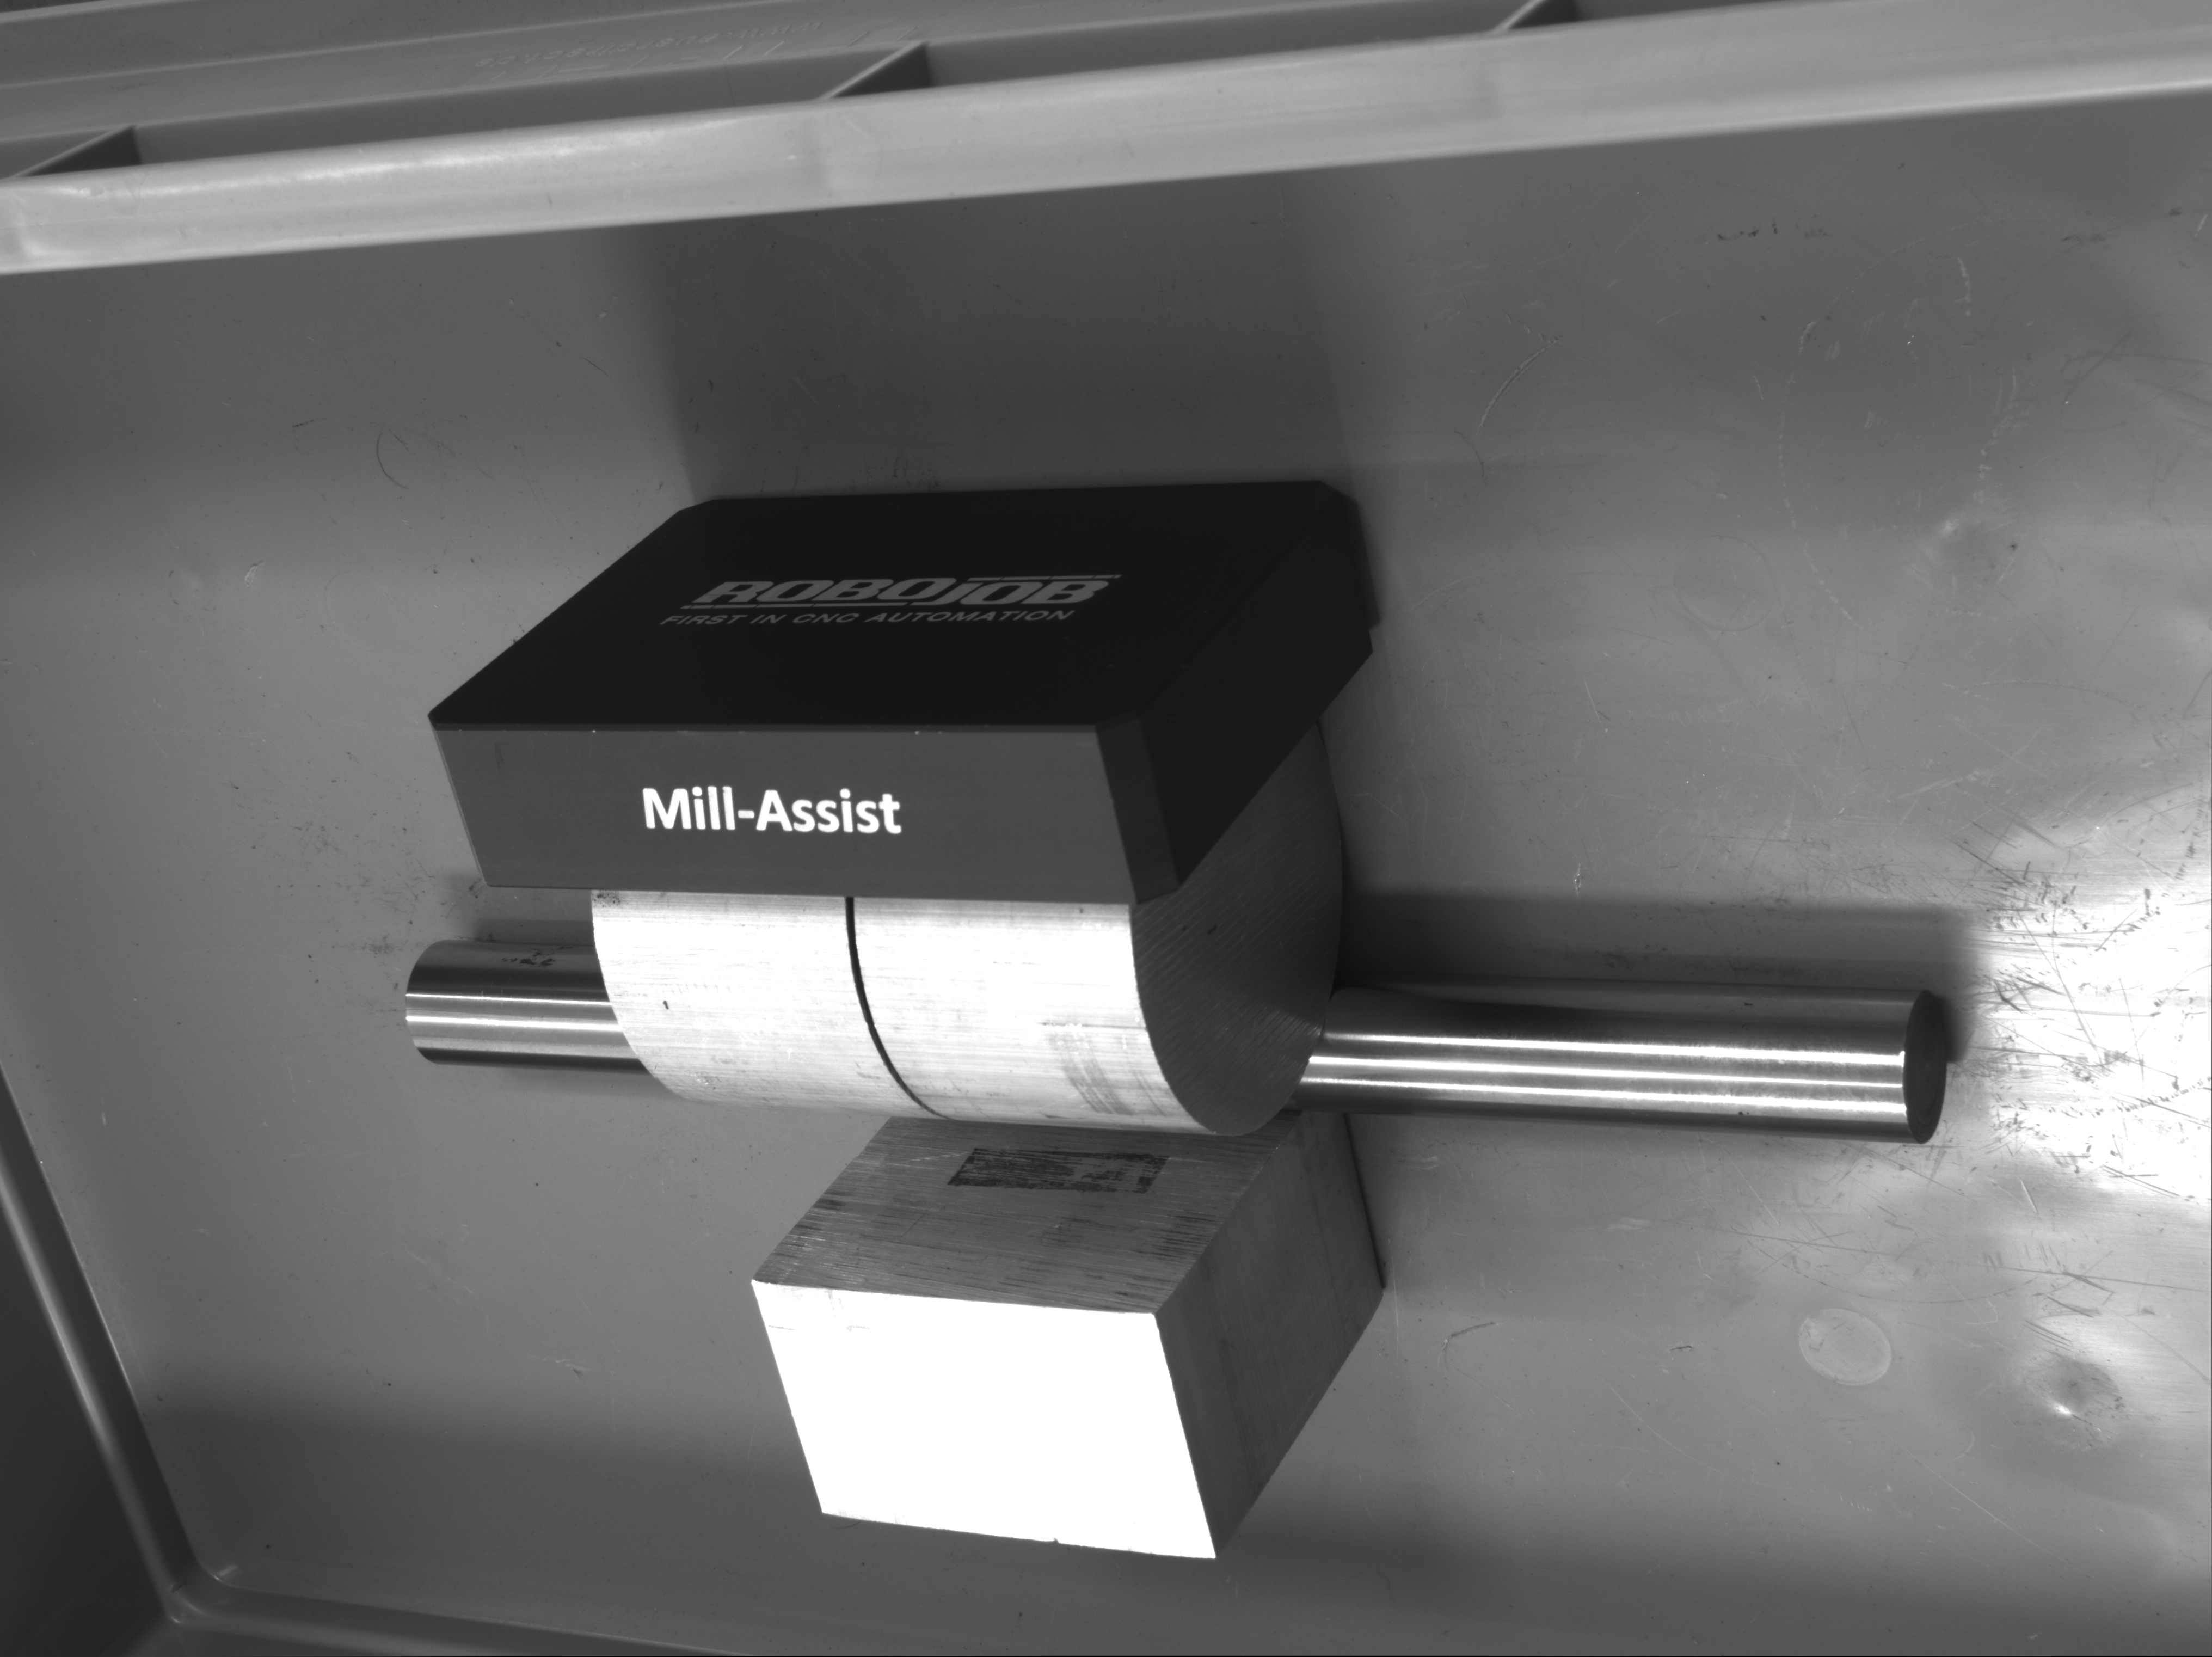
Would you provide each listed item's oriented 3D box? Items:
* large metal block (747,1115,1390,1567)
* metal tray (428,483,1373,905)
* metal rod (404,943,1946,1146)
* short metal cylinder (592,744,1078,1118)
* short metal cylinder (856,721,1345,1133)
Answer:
[{"bbox_3d":[-0.005,0.083,0.658,0.080,0.080,0.050,1,119,28],"label":"large metal block"},{"bbox_3d":[-0.033,-0.024,0.602,0.130,0.090,0.030,1,119,28],"label":"metal tray"},{"bbox_3d":[0.000,0.037,0.663,0.299,0.025,0.025,1,119,28],"label":"metal rod"},{"bbox_3d":[-0.045,0.009,0.636,0.050,0.080,0.080,1,119,28],"label":"short metal cylinder"},{"bbox_3d":[0.001,0.009,0.612,0.050,0.080,0.080,2,119,28],"label":"short metal cylinder"}]
